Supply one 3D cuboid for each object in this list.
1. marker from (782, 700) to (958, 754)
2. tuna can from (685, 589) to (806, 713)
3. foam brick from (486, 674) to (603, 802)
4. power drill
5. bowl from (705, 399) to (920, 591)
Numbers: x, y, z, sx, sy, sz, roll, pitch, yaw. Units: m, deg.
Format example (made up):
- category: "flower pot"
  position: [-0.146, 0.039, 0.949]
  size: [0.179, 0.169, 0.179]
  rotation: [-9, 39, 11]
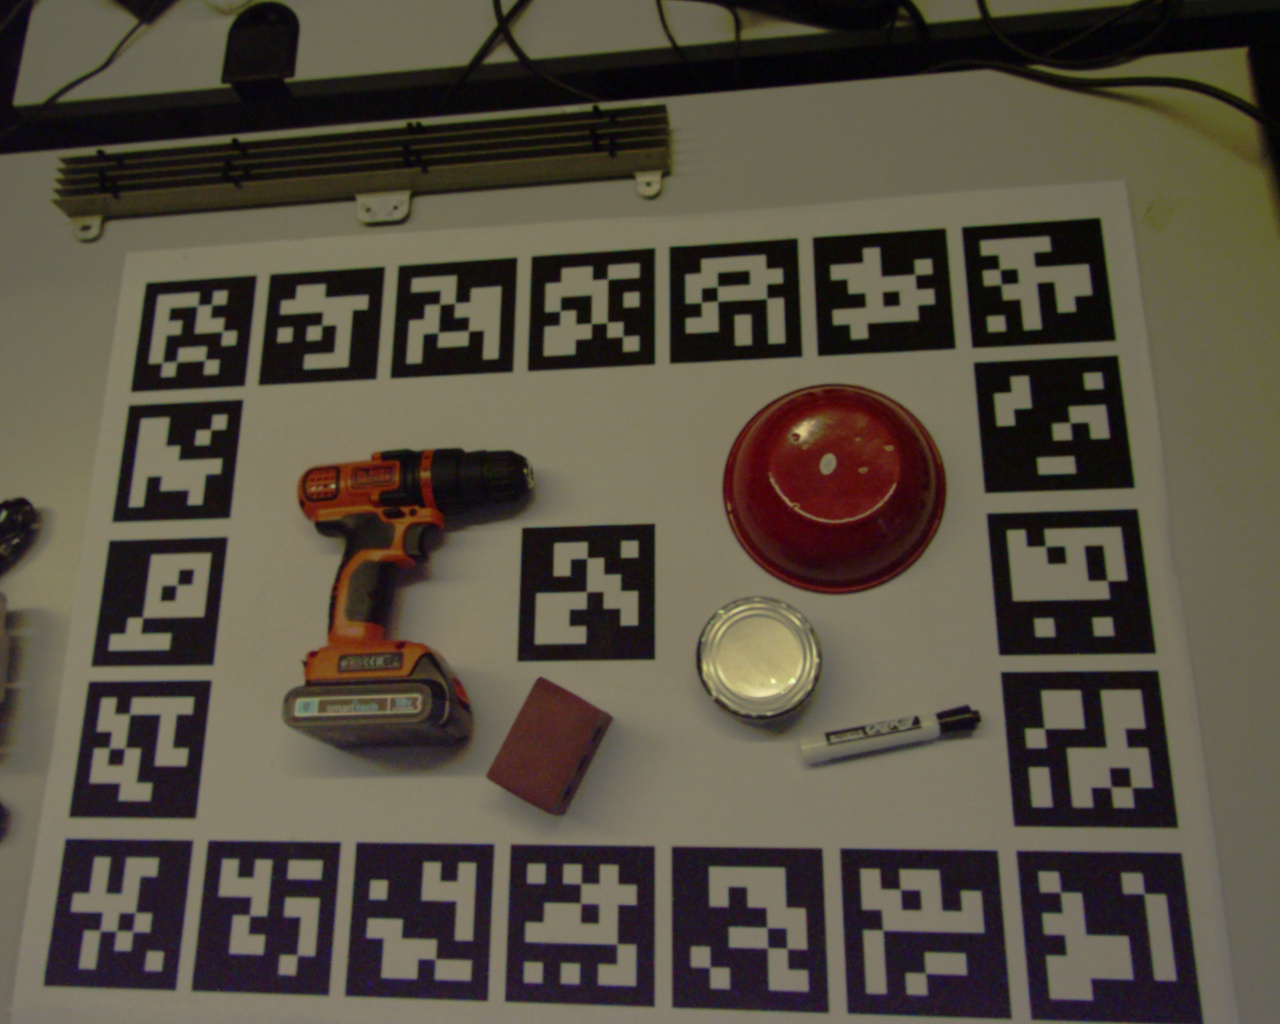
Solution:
- category: "marker"
  position: [0.161, 0.150, 0.798]
  size: [0.121, 0.019, 0.020]
  rotation: [-11, 74, 5]
- category: "tuna can"
  position: [0.076, 0.101, 0.820]
  size: [0.086, 0.033, 0.086]
  rotation: [-2, 73, 6]
- category: "foam brick"
  position: [-0.068, 0.164, 0.822]
  size: [0.052, 0.052, 0.078]
  rotation: [22, 79, 12]
- category: "power drill"
  position: [-0.183, 0.058, 0.866]
  size: [0.185, 0.057, 0.187]
  rotation: [-2, 71, 5]
- category: "bowl"
  position: [0.126, -0.025, 0.849]
  size: [0.162, 0.055, 0.162]
  rotation: [-5, 66, 10]
